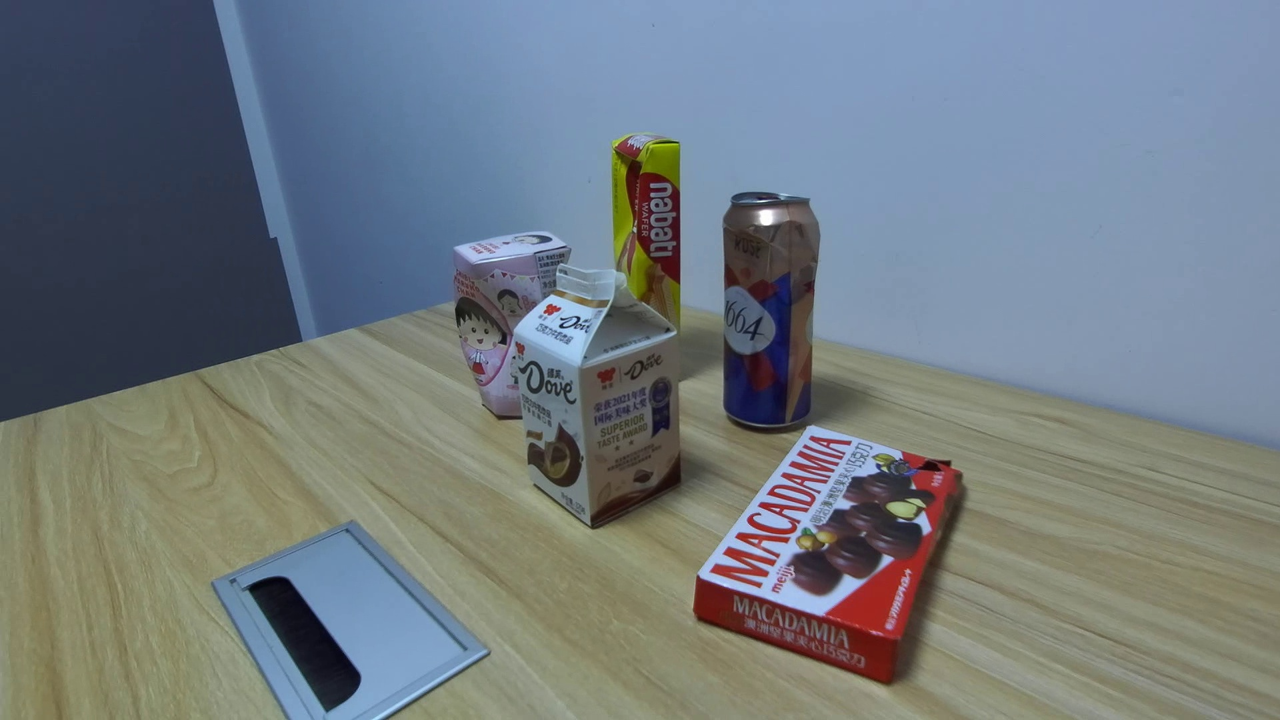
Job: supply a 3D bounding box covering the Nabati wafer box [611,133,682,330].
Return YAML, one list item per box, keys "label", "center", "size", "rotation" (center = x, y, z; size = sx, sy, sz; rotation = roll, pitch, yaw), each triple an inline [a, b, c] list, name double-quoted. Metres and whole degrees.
- label: "Nabati wafer box"
  center: [0.005, -0.086, 0.607]
  size: [0.042, 0.203, 0.096]
  rotation: [-5, 22, -9]

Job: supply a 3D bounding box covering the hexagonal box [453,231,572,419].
- label: "hexagonal box"
  center: [-0.097, -0.029, 0.575]
  size: [0.088, 0.135, 0.093]
  rotation: [6, 24, 24]

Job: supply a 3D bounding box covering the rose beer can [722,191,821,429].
- label: "rose beer can"
  center: [0.094, -0.034, 0.509]
  size: [0.065, 0.167, 0.075]
  rotation: [-4, 20, -7]

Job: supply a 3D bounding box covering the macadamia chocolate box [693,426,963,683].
- label: "macadamia chocolate box"
  center: [0.113, 0.089, 0.386]
  size: [0.102, 0.027, 0.187]
  rotation: [11, 26, 28]

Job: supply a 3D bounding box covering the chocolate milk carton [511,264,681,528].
- label: "chocolate milk carton"
  center: [-0.026, 0.013, 0.433]
  size: [0.074, 0.148, 0.075]
  rotation: [-19, 27, -34]
